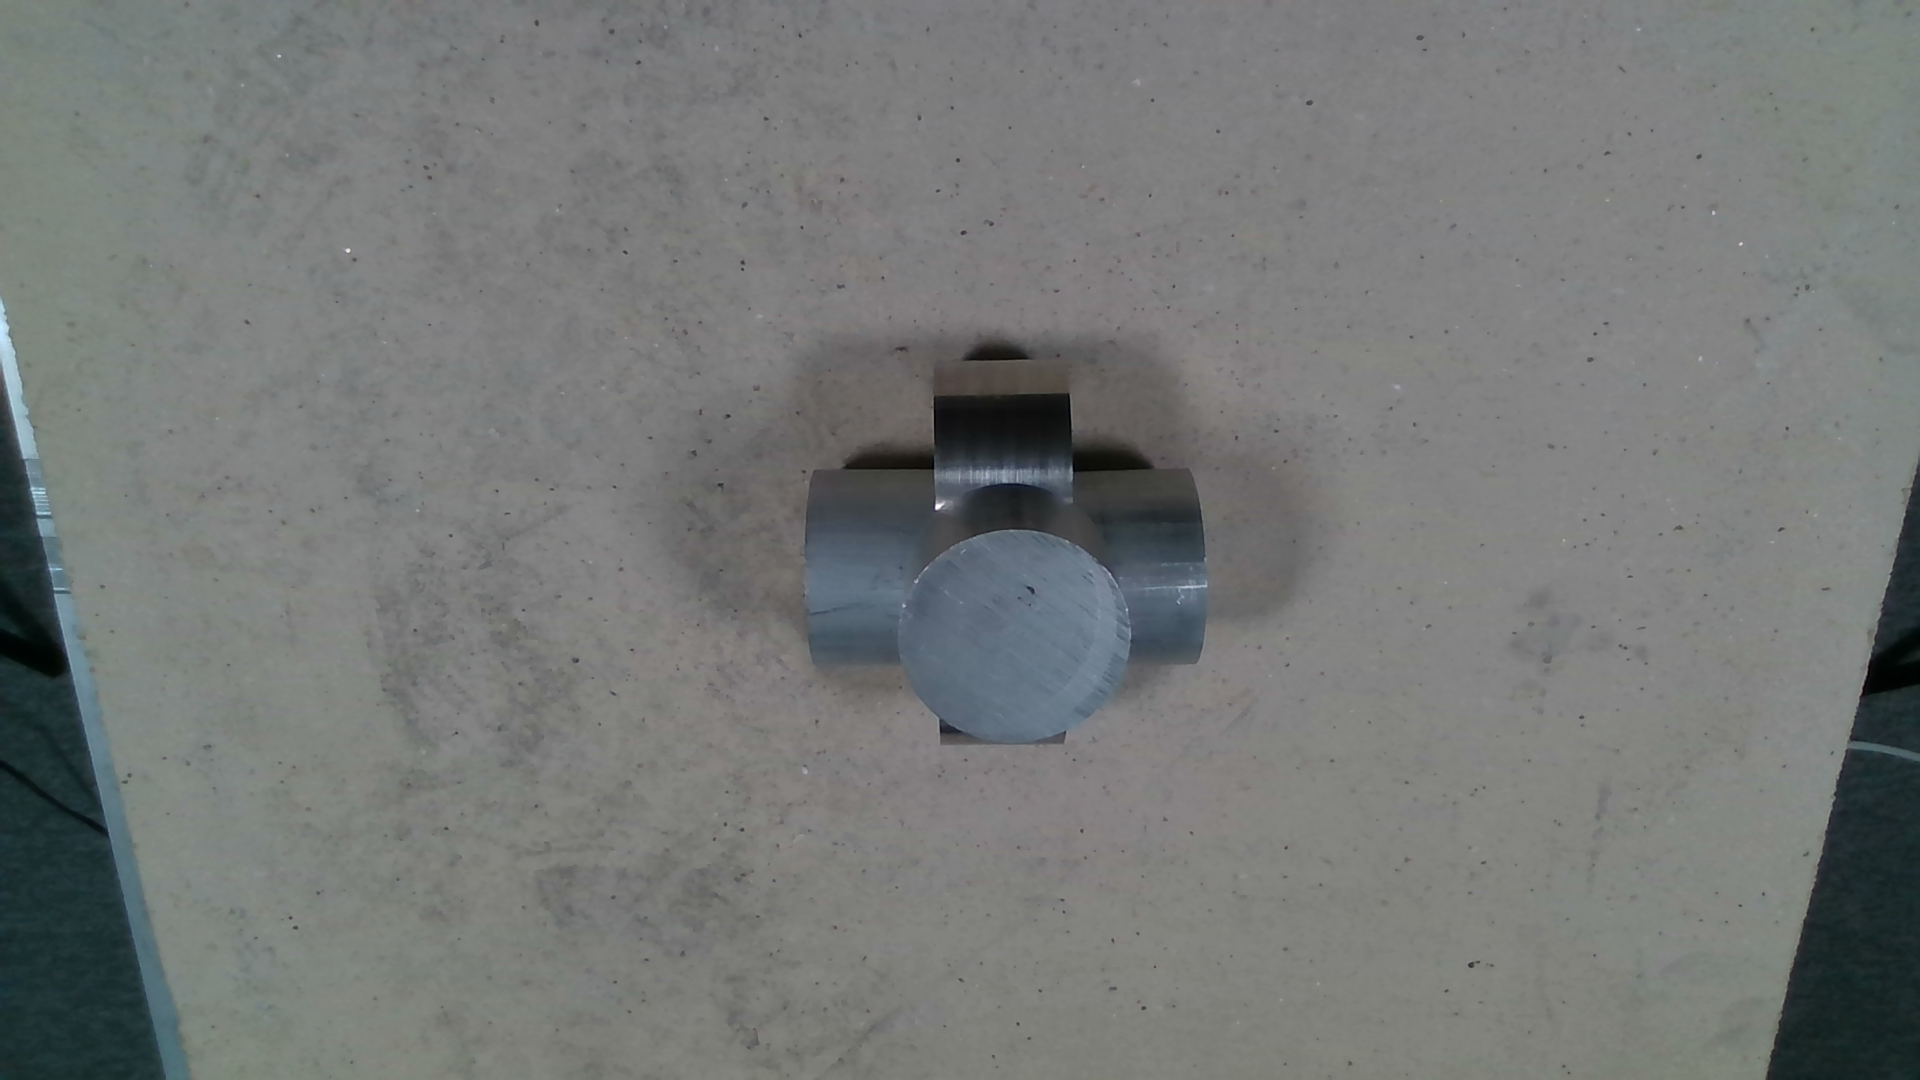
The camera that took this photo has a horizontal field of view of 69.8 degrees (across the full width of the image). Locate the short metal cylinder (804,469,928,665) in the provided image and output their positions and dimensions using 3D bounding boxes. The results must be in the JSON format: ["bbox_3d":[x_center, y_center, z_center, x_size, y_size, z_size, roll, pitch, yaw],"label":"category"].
[{"bbox_3d":[-0.034,0.011,0.559,0.050,0.080,0.080,0,110,0],"label":"short metal cylinder"}]

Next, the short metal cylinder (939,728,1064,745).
[{"bbox_3d":[0.017,0.044,0.572,0.050,0.080,0.080,0,110,0],"label":"short metal cylinder"}]

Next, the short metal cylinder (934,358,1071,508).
[{"bbox_3d":[0.016,-0.032,0.544,0.050,0.080,0.080,-1,110,0],"label":"short metal cylinder"}]

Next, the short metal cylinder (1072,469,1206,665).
[{"bbox_3d":[0.068,0.011,0.559,0.050,0.080,0.080,-2,110,1],"label":"short metal cylinder"}]

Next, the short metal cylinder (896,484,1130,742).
[{"bbox_3d":[0.018,0.025,0.495,0.080,0.050,0.080,0,110,0],"label":"short metal cylinder"}]
